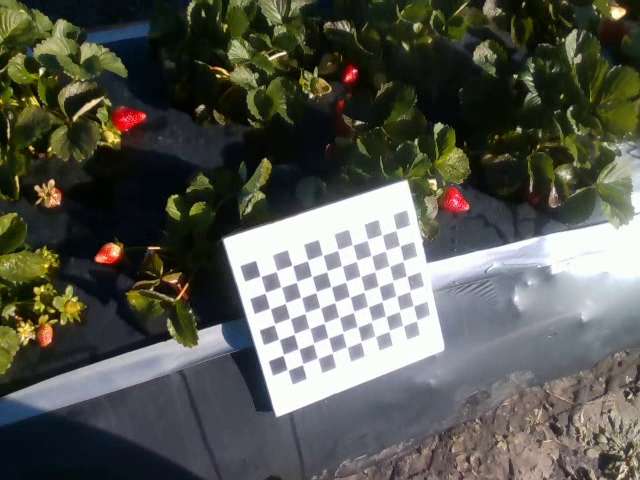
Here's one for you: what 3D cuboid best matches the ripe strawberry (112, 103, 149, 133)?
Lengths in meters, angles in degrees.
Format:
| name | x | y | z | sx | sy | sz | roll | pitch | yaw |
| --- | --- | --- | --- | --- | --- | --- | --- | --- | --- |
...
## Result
| name | x | y | z | sx | sy | sz | roll | pitch | yaw |
| --- | --- | --- | --- | --- | --- | --- | --- | --- | --- |
| ripe strawberry | -0.311 | -0.194 | 1.138 | 0.064 | 0.050 | 0.052 | -9 | 11 | -8 |

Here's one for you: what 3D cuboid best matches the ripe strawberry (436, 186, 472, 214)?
| name | x | y | z | sx | sy | sz | roll | pitch | yaw |
| --- | --- | --- | --- | --- | --- | --- | --- | --- | --- |
| ripe strawberry | 0.221 | -0.060 | 1.158 | 0.054 | 0.048 | 0.029 | 29 | -2 | -20 |
